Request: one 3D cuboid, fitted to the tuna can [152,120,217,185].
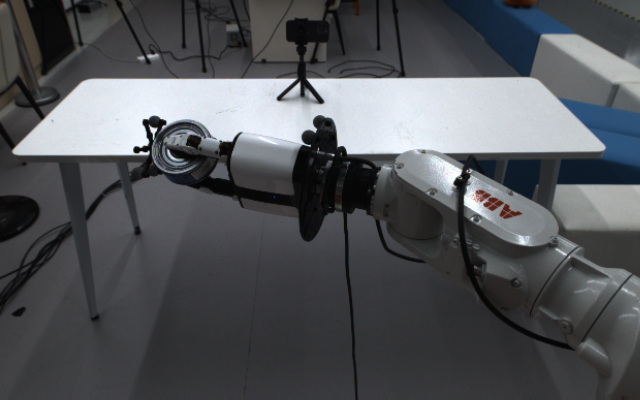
[{"bbox_3d":[-0.181,-0.062,0.656,0.085,0.034,0.085,-2,70,6],"label":"tuna can"}]
